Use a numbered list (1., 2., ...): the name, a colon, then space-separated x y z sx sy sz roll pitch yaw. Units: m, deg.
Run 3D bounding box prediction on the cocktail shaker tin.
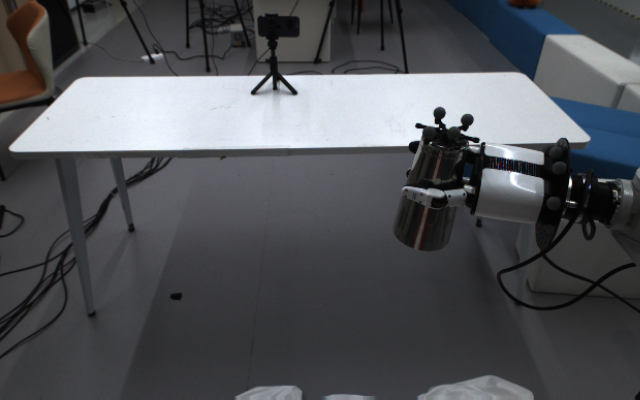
1. cocktail shaker tin: 0.170 -0.020 0.725 0.093 0.170 0.093 4 36 -3
